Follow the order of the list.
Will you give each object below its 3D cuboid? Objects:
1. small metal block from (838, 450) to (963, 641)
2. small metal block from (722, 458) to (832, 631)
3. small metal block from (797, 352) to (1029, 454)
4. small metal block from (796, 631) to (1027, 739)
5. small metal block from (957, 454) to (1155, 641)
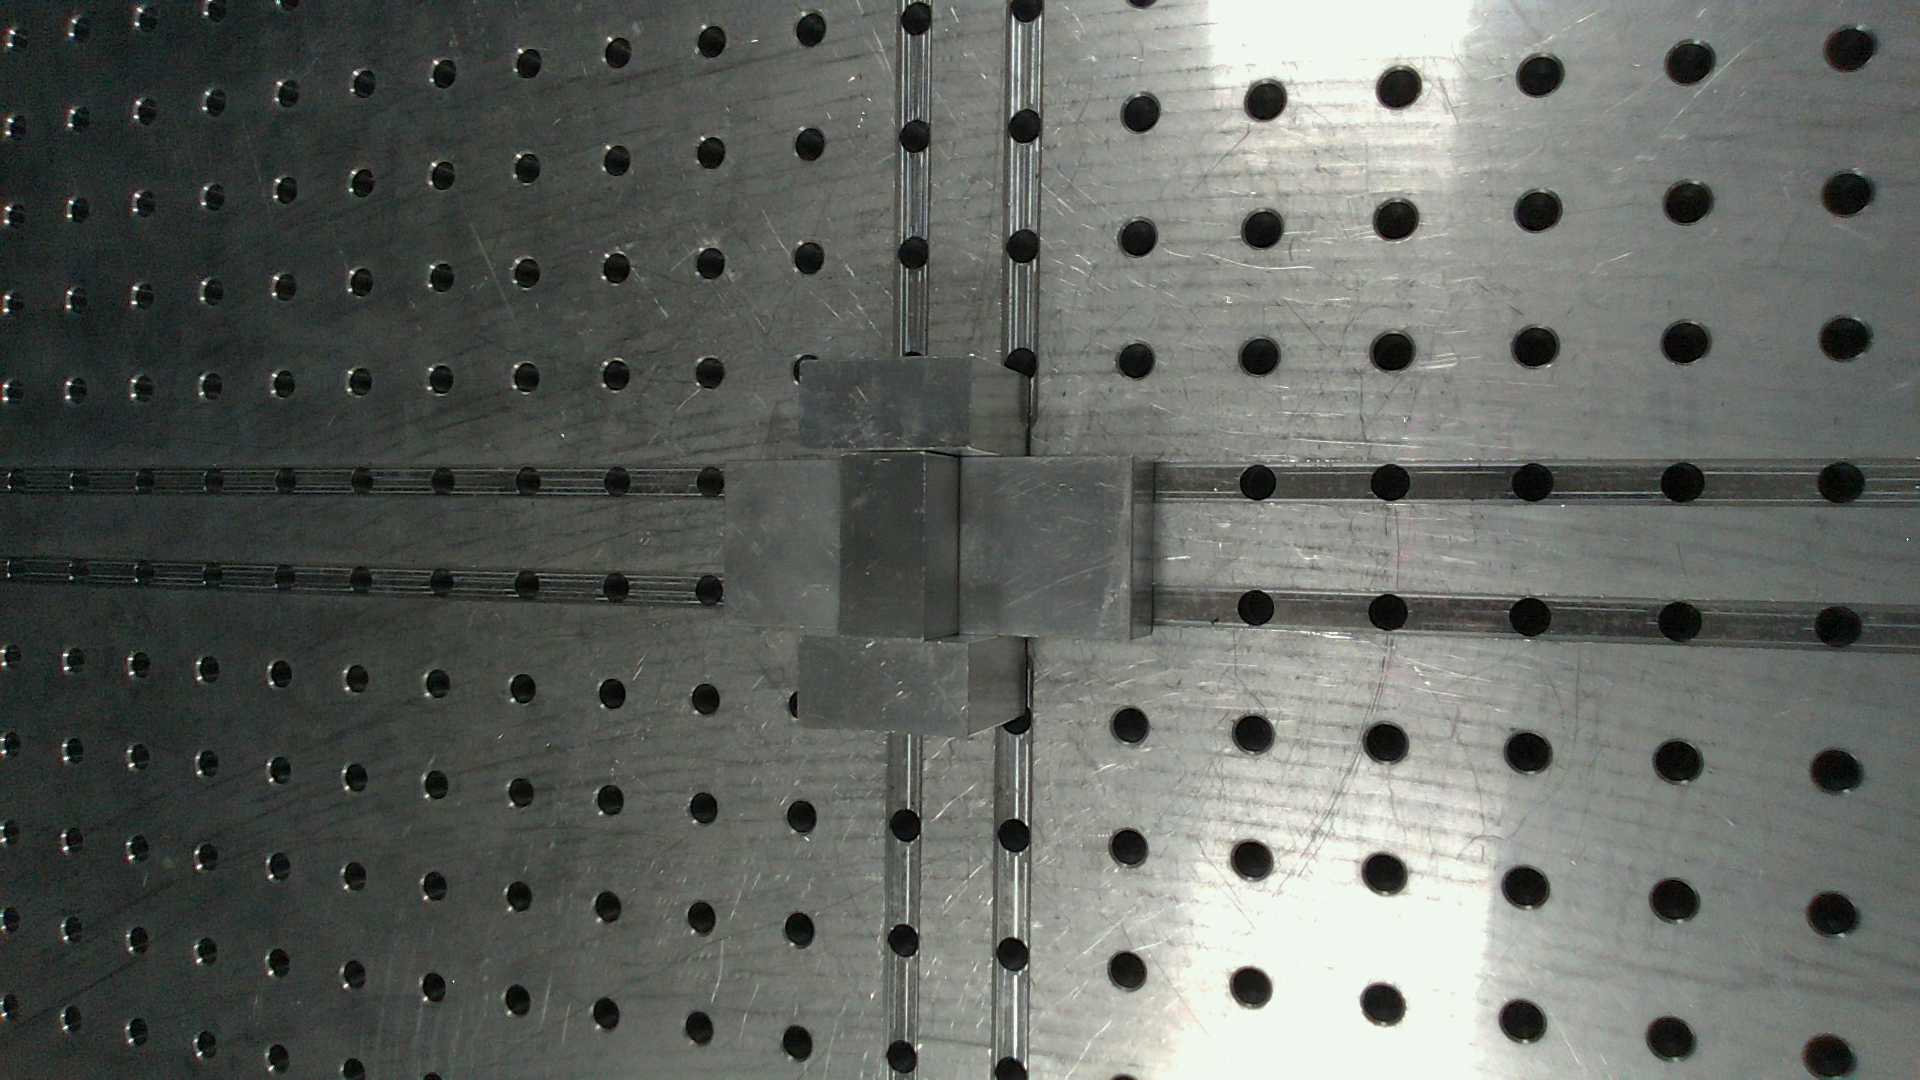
[{"bbox_3d":[-0.012,0.001,0.389,0.025,0.050,0.050,1,90,20],"label":"small metal block"},{"bbox_3d":[-0.043,0.001,0.414,0.050,0.025,0.050,0,90,20],"label":"small metal block"},{"bbox_3d":[-0.012,-0.037,0.389,0.050,0.050,0.025,1,90,20],"label":"small metal block"},{"bbox_3d":[-0.012,0.039,0.389,0.050,0.050,0.025,1,90,20],"label":"small metal block"},{"bbox_3d":[0.027,0.002,0.388,0.050,0.025,0.050,1,90,20],"label":"small metal block"}]
